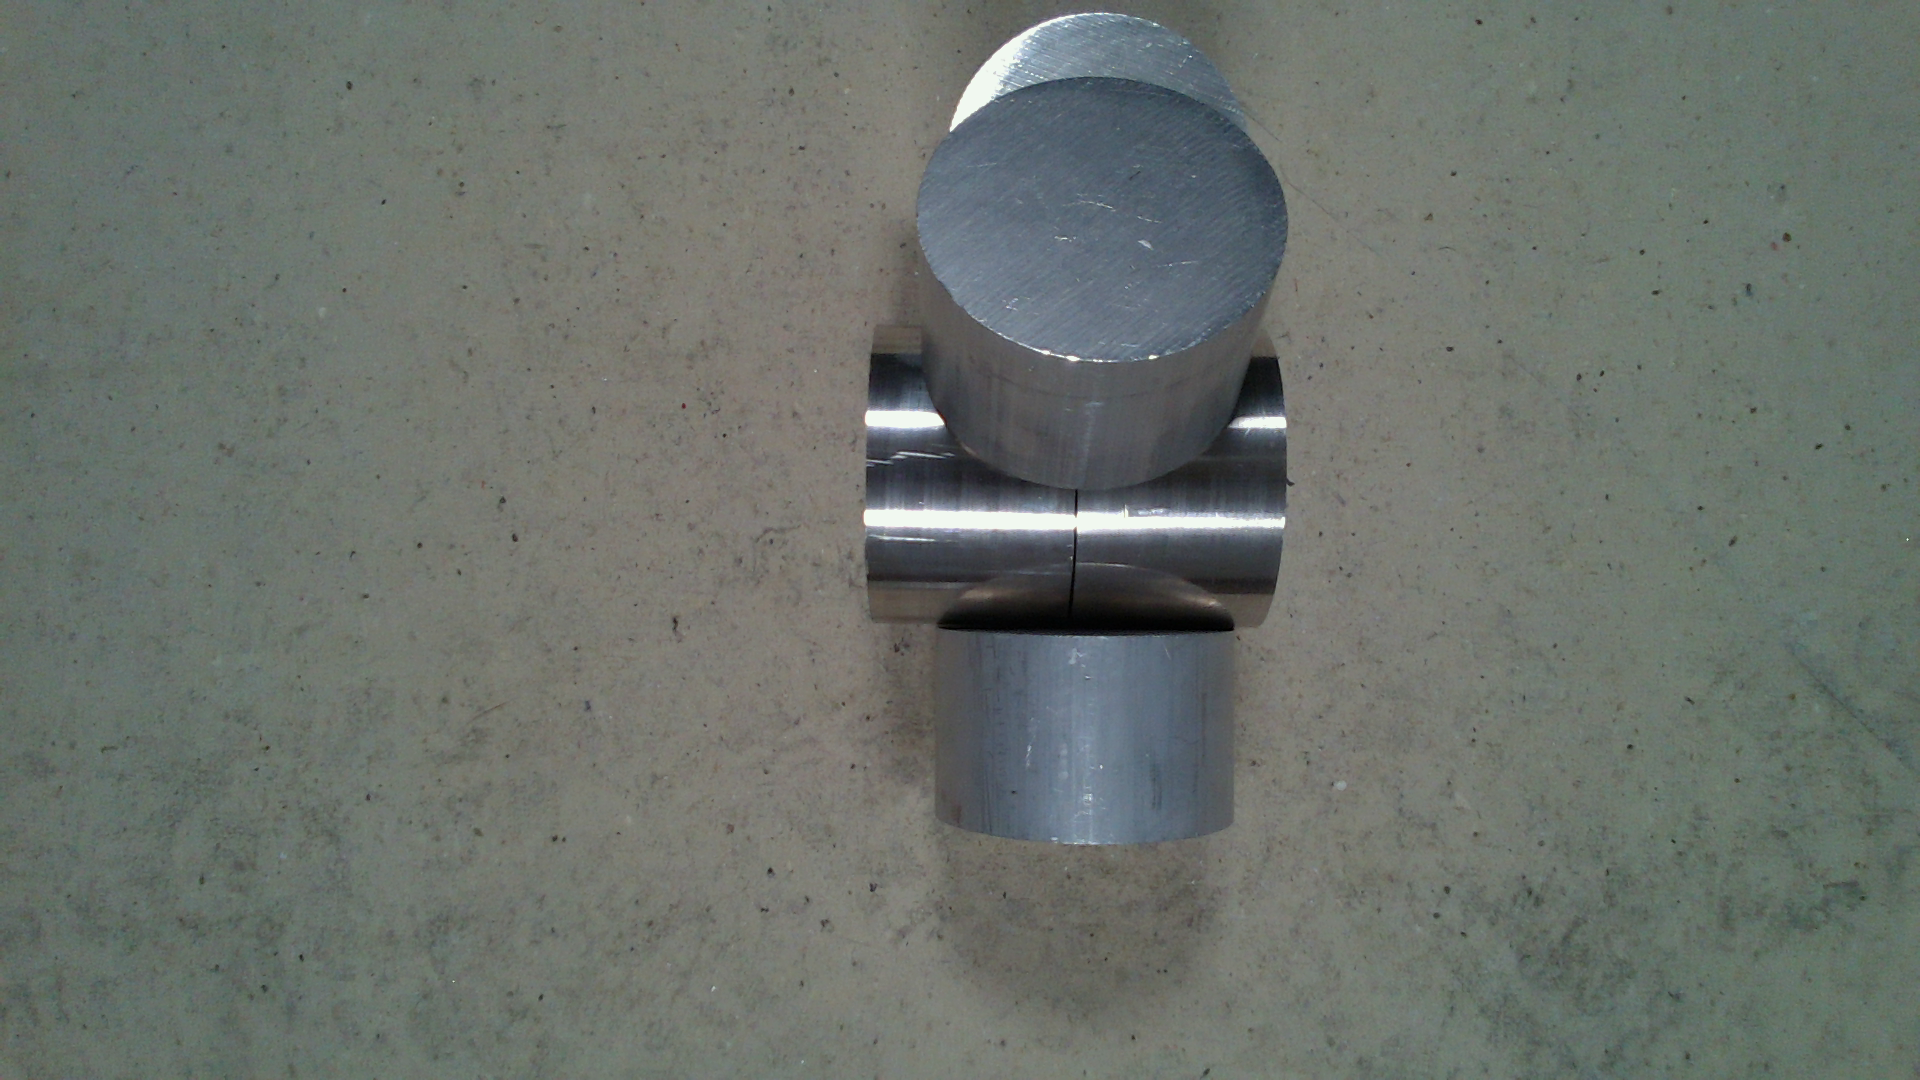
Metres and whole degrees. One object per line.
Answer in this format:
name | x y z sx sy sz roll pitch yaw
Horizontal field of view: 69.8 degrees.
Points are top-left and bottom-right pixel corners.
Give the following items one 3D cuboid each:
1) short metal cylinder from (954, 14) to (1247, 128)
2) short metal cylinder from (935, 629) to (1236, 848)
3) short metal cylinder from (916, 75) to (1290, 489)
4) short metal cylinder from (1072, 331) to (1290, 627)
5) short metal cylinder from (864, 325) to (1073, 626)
short metal cylinder | 0.037 -0.097 0.383 0.080 0.050 0.080 0 90 0
short metal cylinder | 0.033 0.049 0.369 0.080 0.080 0.050 0 90 0
short metal cylinder | 0.030 -0.059 0.317 0.080 0.050 0.080 0 62 0
short metal cylinder | 0.054 -0.017 0.368 0.050 0.080 0.080 0 90 1
short metal cylinder | 0.002 -0.017 0.368 0.050 0.080 0.080 1 90 0
